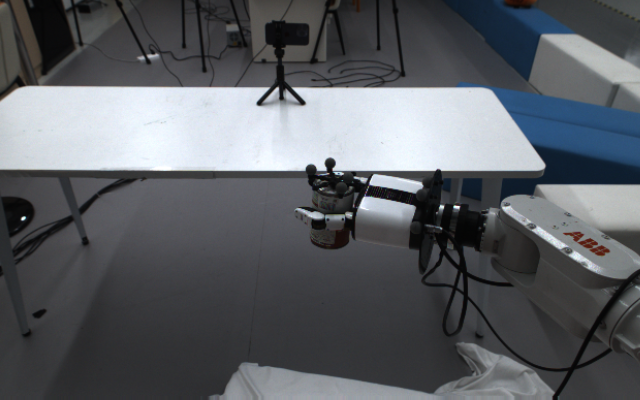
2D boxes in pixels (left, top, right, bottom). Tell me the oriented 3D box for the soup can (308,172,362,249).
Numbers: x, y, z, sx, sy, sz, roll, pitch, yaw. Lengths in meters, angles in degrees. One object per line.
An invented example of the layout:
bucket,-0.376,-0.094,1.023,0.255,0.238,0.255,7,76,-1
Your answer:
soup can,0.020,0.020,0.772,0.067,0.101,0.067,4,30,-2
